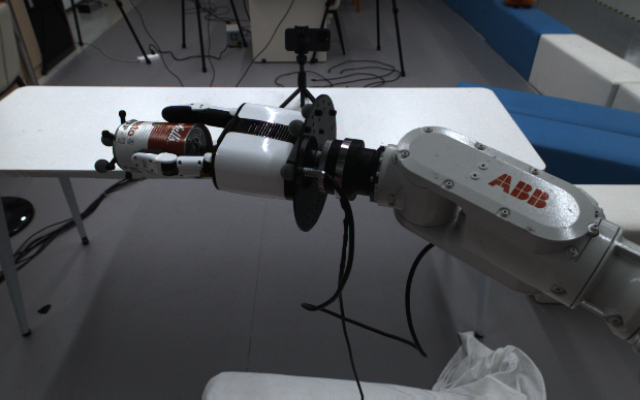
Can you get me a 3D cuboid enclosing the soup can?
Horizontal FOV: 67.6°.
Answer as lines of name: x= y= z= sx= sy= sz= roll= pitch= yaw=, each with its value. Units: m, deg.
soup can: x=-0.194 y=-0.063 z=0.607 sx=0.101 sy=0.067 sz=0.067 roll=5 pitch=34 yaw=14
